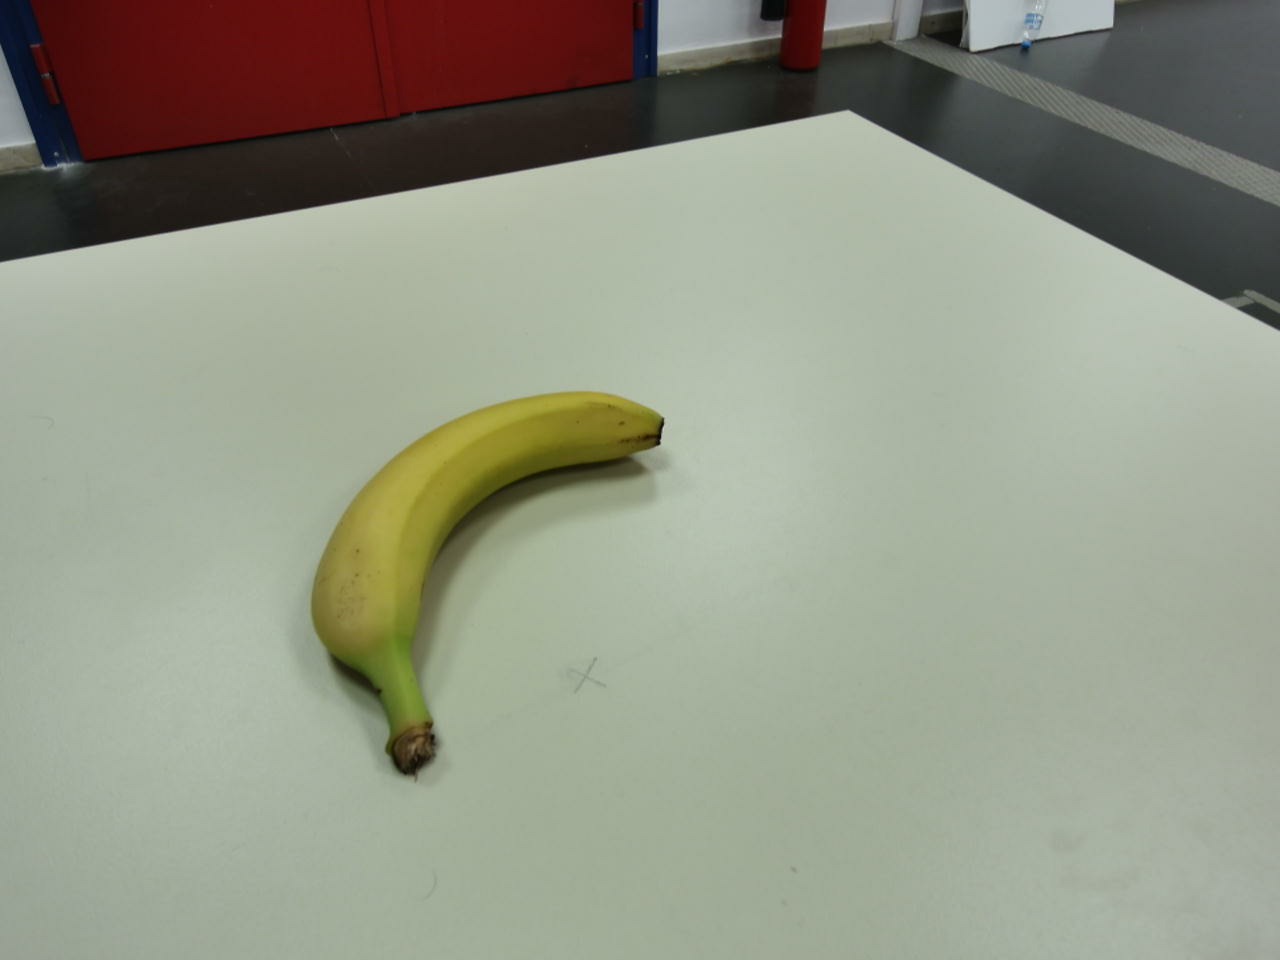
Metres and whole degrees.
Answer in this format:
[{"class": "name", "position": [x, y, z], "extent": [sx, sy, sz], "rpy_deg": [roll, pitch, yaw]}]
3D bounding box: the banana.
[{"class": "banana", "position": [-0.070, 0.017, 0.401], "extent": [0.094, 0.041, 0.196], "rpy_deg": [18, 41, 21]}]
